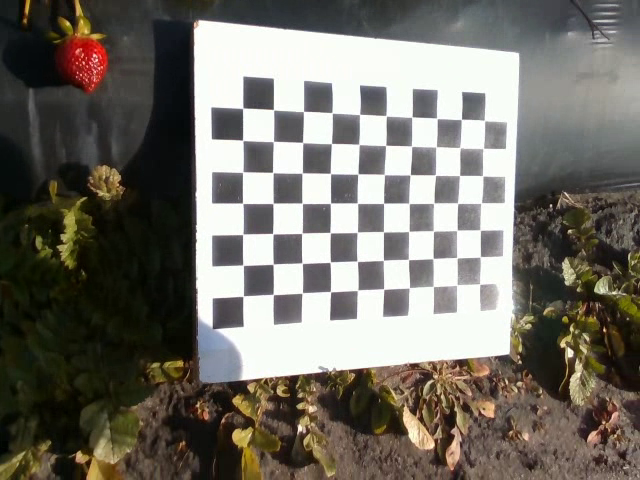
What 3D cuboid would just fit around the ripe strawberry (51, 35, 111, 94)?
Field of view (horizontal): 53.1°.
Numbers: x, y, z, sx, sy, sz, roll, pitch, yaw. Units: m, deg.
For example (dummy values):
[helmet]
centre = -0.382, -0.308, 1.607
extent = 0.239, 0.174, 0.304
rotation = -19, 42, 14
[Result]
[ripe strawberry]
centre = -0.157, -0.114, 0.421
extent = 0.040, 0.044, 0.036
rotation = -21, -2, -17
